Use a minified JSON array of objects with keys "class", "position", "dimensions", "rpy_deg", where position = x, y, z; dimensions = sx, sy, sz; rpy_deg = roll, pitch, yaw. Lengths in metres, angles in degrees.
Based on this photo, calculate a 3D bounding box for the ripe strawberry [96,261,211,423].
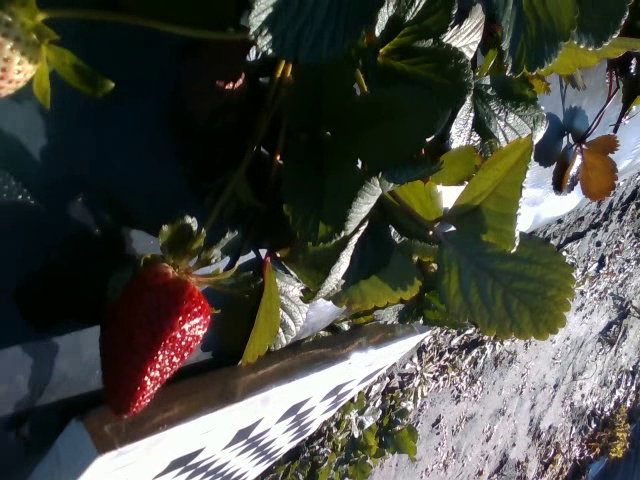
[{"class":"ripe strawberry","position":[-0.065,0.036,0.221],"dimensions":[0.058,0.062,0.066],"rpy_deg":[-4,-21,0]}]
